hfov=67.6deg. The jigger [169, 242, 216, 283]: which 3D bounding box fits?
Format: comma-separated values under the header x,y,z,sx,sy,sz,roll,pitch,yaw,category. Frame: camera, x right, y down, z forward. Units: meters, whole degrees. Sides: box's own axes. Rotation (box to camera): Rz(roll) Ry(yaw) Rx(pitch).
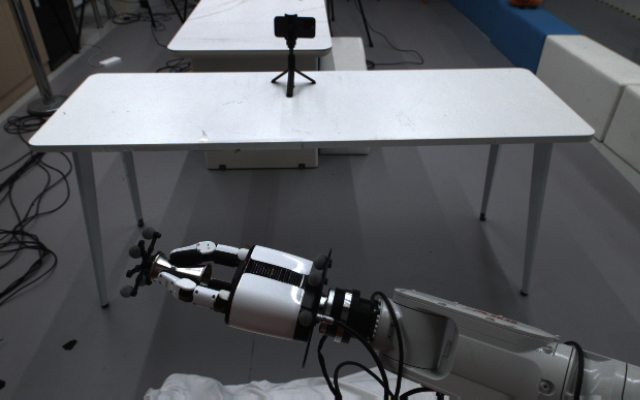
x,y,z,sx,sy,sz,roll,pitch,yaw,category
-0.177,0.096,0.641,0.071,0.043,0.043,14,36,5,jigger
